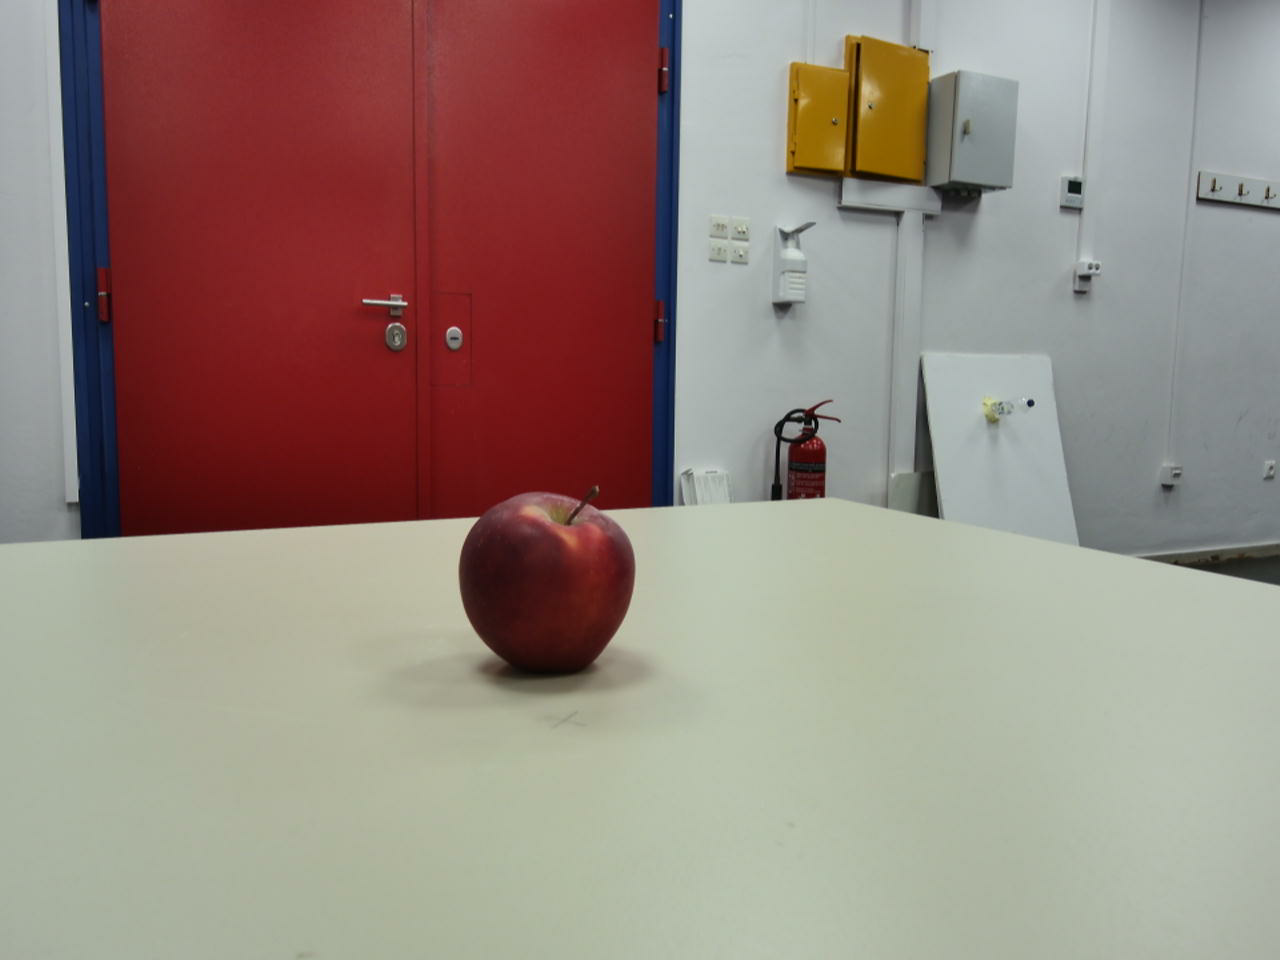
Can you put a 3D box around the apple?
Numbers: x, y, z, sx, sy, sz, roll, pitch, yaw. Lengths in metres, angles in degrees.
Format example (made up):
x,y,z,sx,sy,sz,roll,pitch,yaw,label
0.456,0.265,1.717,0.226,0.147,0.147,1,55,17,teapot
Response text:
x,y,z,sx,sy,sz,roll,pitch,yaw,label
-0.037,0.039,0.402,0.070,0.072,0.070,0,4,0,apple
